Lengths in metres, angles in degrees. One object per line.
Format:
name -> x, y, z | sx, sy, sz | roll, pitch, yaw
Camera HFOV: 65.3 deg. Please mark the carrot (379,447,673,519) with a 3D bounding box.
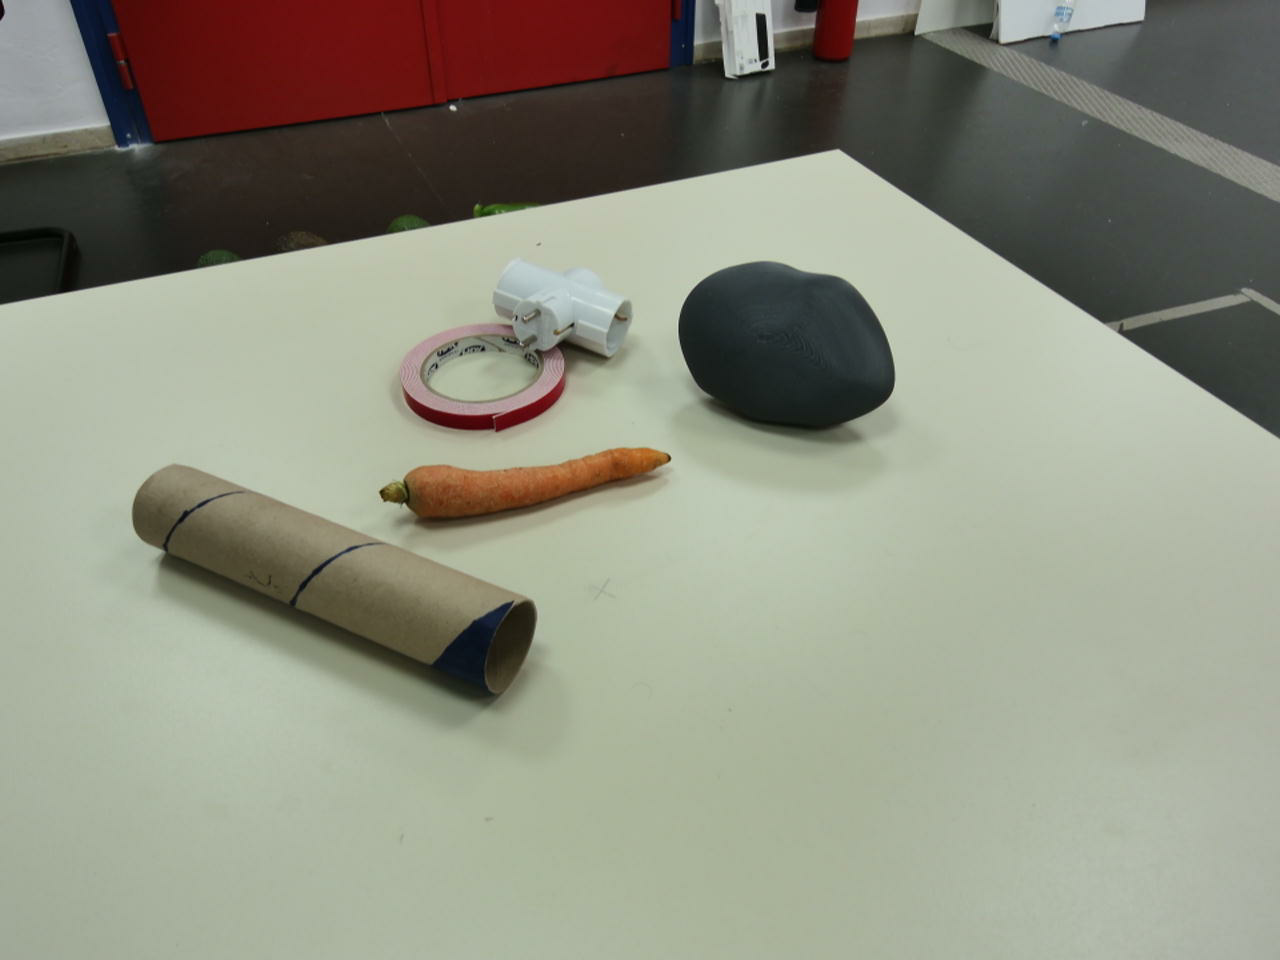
carrot -> -0.060, -0.002, 0.573 | 0.173, 0.032, 0.030 | -9, 40, -12
